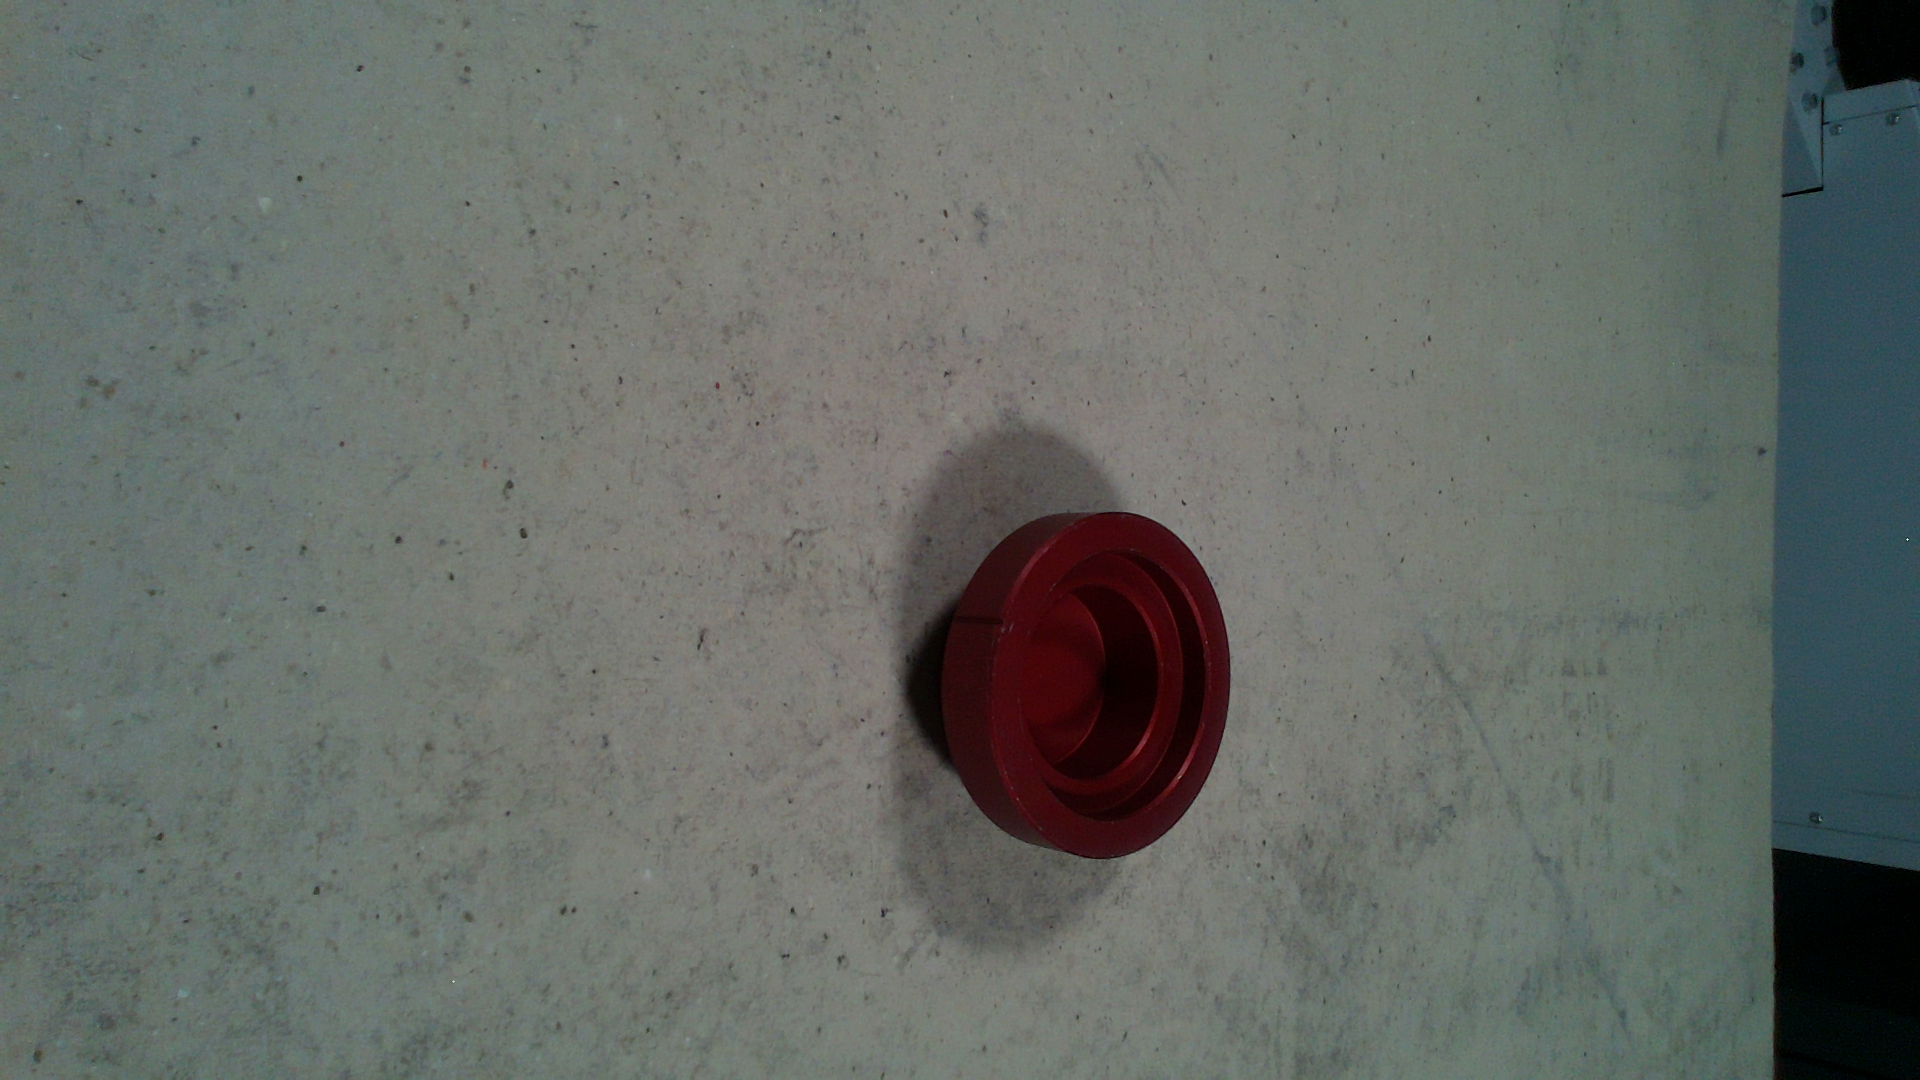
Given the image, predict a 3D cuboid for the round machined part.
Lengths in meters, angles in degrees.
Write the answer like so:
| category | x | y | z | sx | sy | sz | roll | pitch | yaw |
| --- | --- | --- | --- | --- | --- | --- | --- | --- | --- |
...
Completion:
| category | x | y | z | sx | sy | sz | roll | pitch | yaw |
| --- | --- | --- | --- | --- | --- | --- | --- | --- | --- |
| round machined part | 0.032 | 0.040 | 0.404 | 0.098 | 0.042 | 0.098 | 0 | 90 | -40 |
